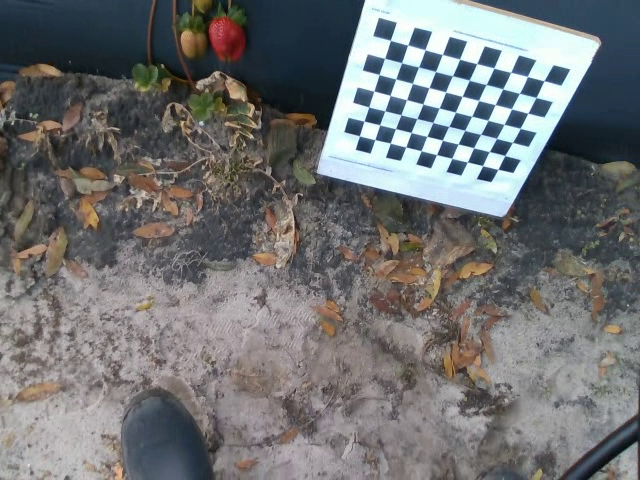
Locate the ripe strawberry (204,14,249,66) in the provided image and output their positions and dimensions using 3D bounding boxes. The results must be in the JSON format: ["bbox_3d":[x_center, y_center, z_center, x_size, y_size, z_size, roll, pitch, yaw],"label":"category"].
[{"bbox_3d":[-0.136,-0.275,0.803,0.066,0.075,0.053,-2,40,7],"label":"ripe strawberry"}]
